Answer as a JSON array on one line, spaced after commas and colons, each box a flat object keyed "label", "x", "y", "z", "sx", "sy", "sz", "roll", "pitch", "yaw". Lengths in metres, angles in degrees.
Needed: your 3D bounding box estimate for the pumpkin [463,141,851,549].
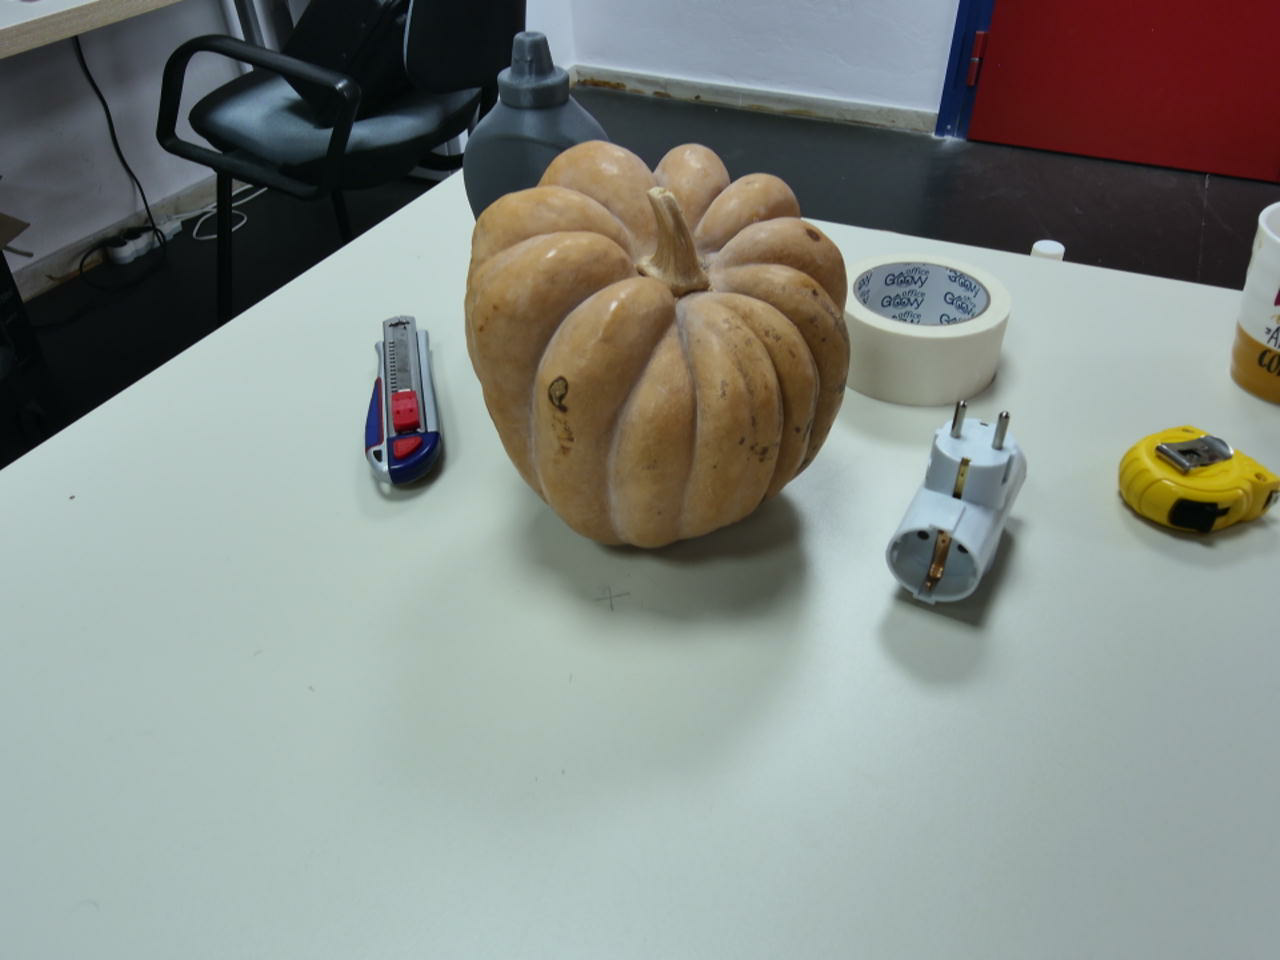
[{"label": "pumpkin", "x": 0.007, "y": -0.065, "z": 0.496, "sx": 0.199, "sy": 0.177, "sz": 0.198, "roll": 0, "pitch": 38, "yaw": 0}]
